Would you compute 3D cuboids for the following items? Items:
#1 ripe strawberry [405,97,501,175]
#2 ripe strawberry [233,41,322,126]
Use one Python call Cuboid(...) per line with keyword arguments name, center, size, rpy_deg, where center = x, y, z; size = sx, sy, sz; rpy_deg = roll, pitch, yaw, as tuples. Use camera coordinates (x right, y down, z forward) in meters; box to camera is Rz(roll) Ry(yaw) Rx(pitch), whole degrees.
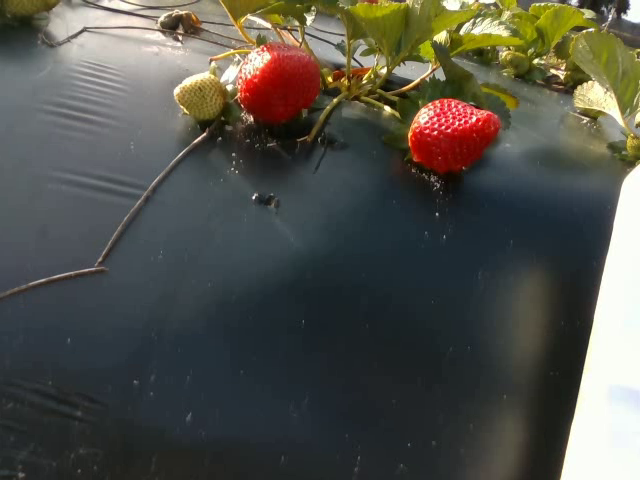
Cuboid(name="ripe strawberry", center=(0.052, -0.042, 0.209), size=(0.033, 0.038, 0.039), rpy_deg=(33, -8, -9))
Cuboid(name="ripe strawberry", center=(-0.015, -0.063, 0.213), size=(0.035, 0.041, 0.036), rpy_deg=(3, 4, 5))
